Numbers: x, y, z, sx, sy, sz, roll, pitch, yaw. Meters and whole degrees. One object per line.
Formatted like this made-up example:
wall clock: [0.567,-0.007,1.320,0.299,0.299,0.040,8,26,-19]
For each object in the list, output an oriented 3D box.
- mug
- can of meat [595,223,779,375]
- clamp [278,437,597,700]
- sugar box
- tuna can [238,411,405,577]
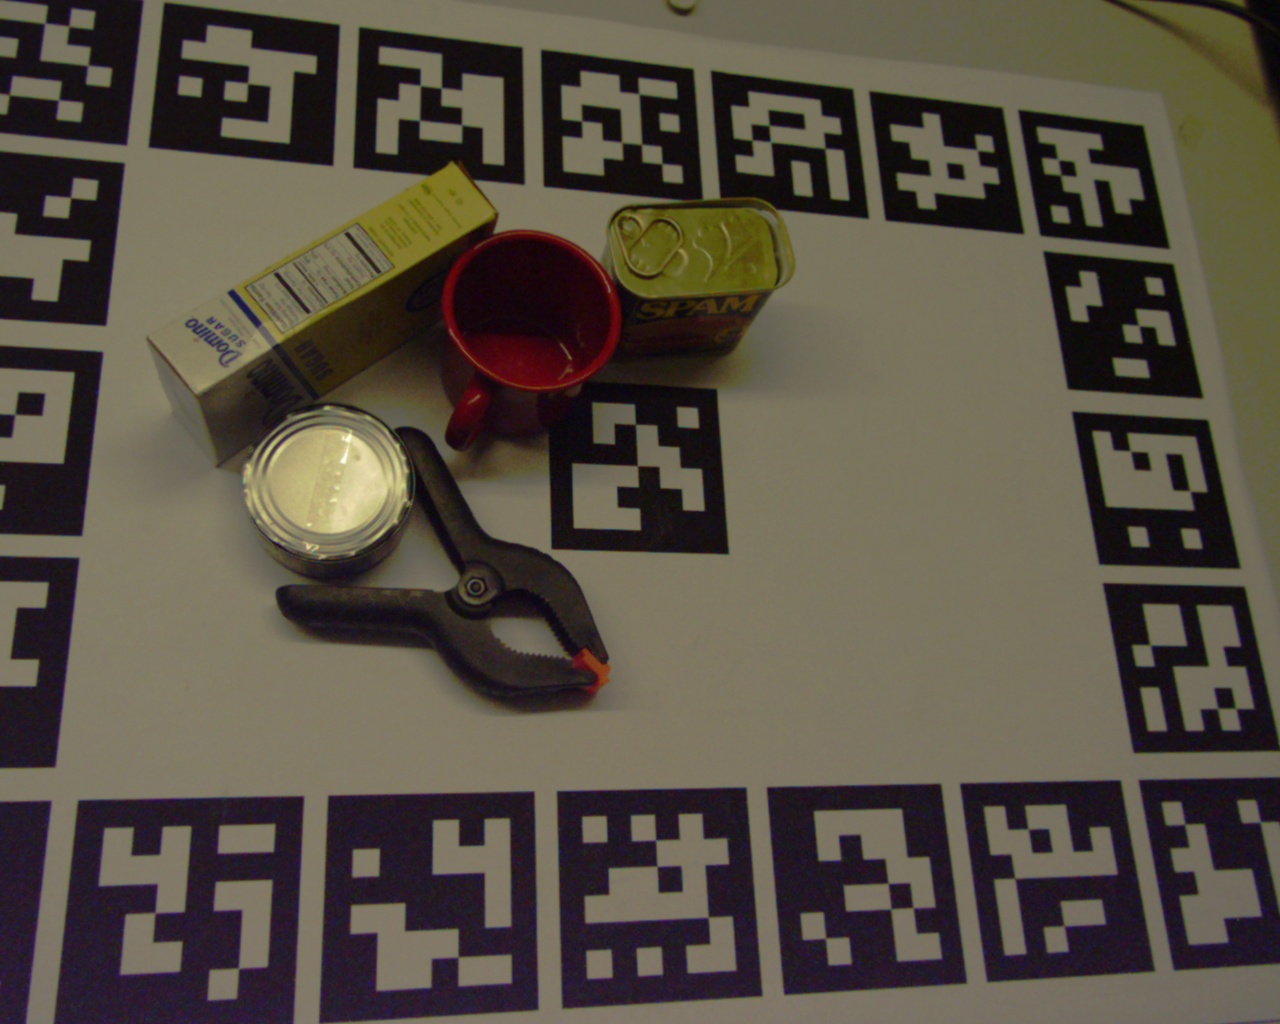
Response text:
mug: [-0.074,-0.082,0.633,0.093,0.082,0.117,26,70,-6]
can of meat: [0.018,-0.124,0.678,0.101,0.084,0.058,-6,73,-17]
clamp: [-0.095,0.049,0.620,0.165,0.037,0.121,37,64,-5]
sugar box: [-0.165,-0.099,0.620,0.175,0.093,0.045,-37,84,-23]
tuna can: [-0.171,-0.009,0.614,0.085,0.034,0.086,3,74,-13]
